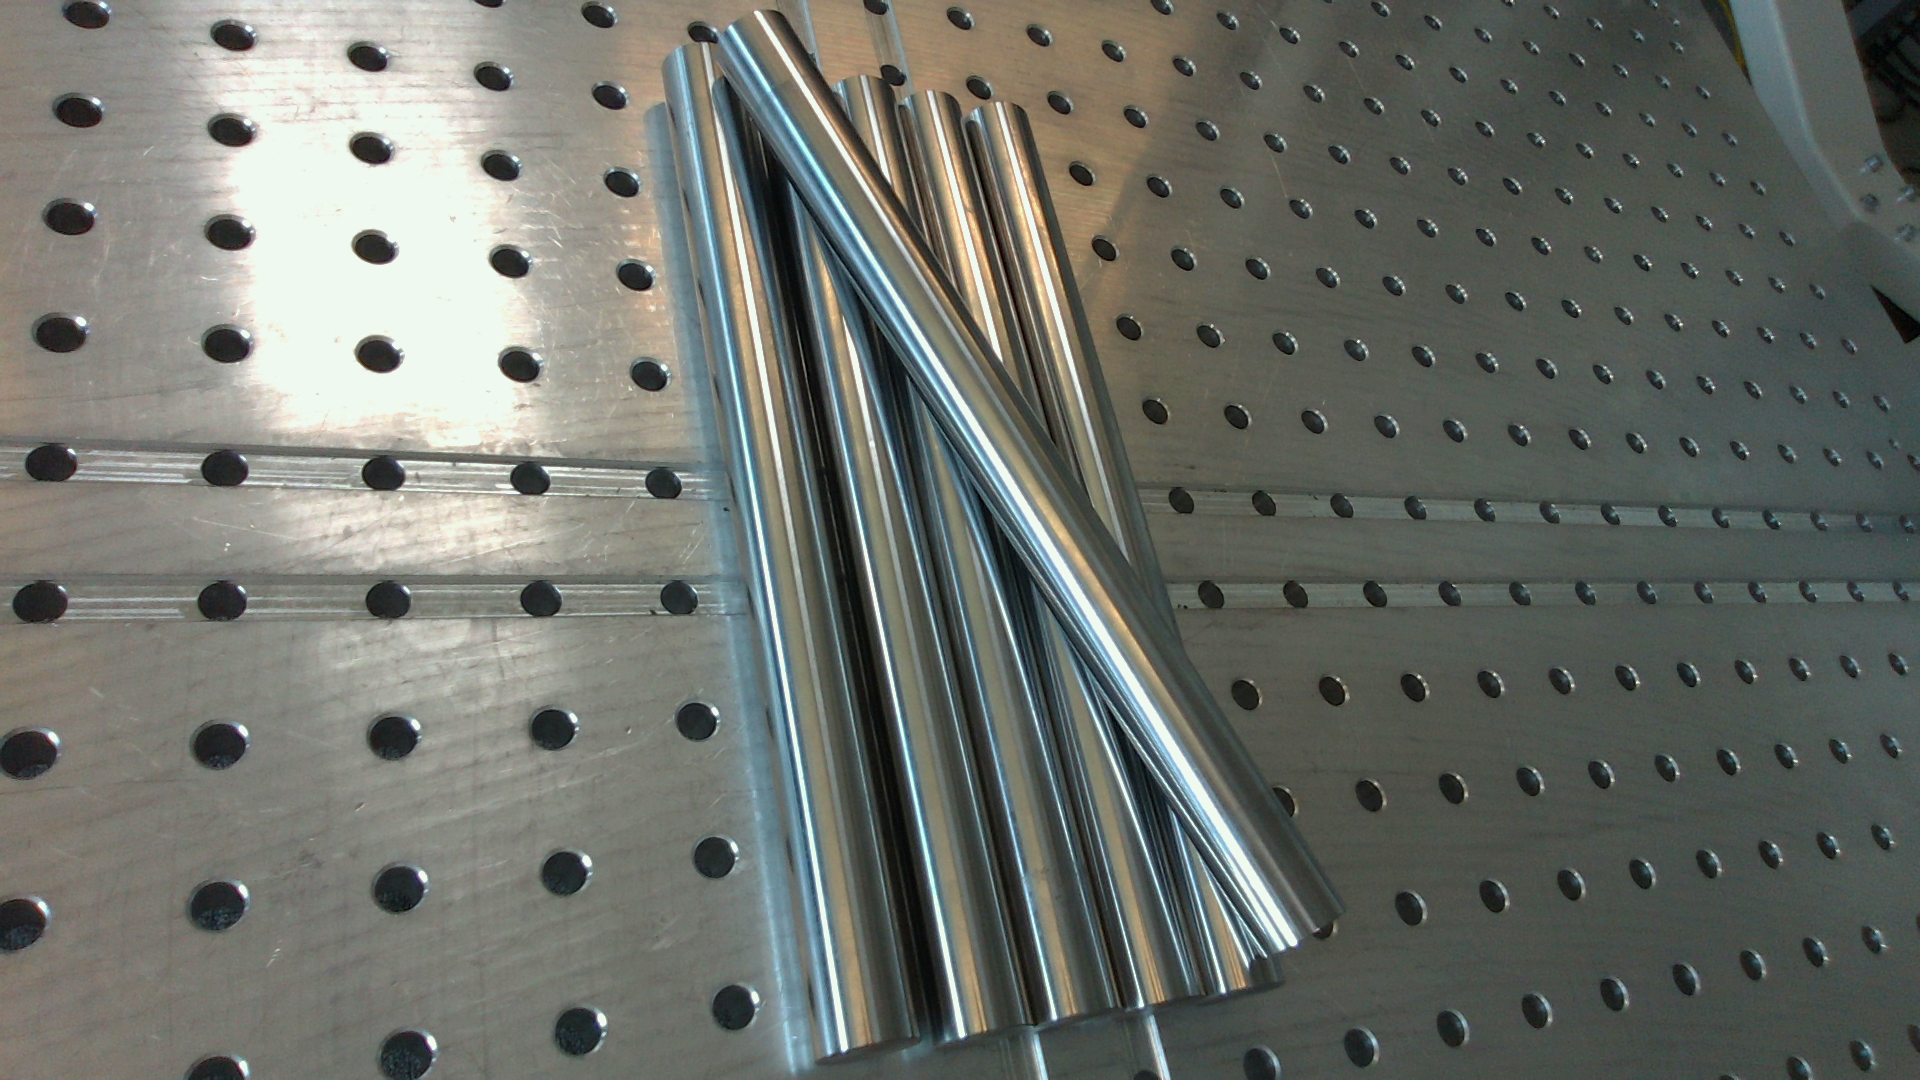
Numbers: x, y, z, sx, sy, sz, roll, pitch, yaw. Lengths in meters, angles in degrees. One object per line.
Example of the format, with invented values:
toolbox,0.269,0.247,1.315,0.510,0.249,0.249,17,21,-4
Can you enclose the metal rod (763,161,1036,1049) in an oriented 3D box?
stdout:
metal rod,-0.026,-0.016,0.387,0.025,0.025,0.300,1,61,-28

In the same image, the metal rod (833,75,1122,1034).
metal rod,-0.004,-0.015,0.398,0.025,0.025,0.300,1,61,-28

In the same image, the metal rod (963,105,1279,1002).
metal rod,0.041,-0.013,0.423,0.025,0.025,0.300,1,61,-27

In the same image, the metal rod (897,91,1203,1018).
metal rod,0.018,-0.014,0.411,0.025,0.025,0.300,1,61,-28

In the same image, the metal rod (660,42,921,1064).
metal rod,-0.052,-0.017,0.374,0.025,0.025,0.300,1,61,-28

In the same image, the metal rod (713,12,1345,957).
metal rod,0.011,-0.026,0.382,0.025,0.025,0.300,-21,73,-36
